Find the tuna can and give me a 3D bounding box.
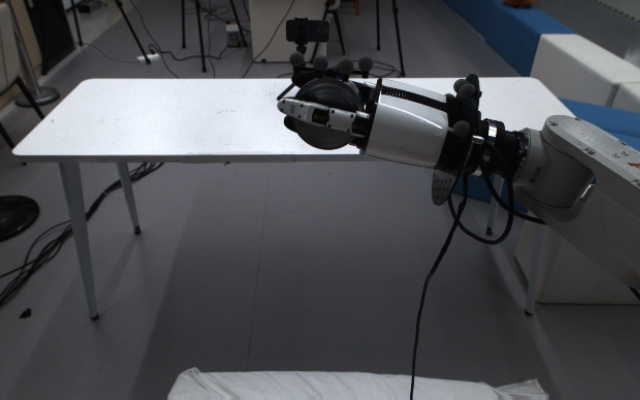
[{"bbox_3d":[0.011,-0.107,0.580,0.085,0.085,0.034,6,22,6],"label":"tuna can"}]
